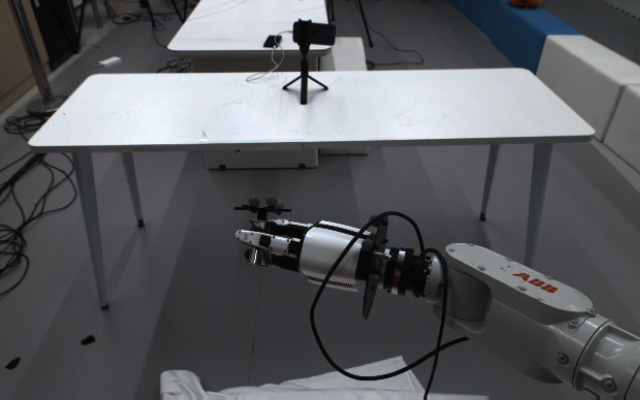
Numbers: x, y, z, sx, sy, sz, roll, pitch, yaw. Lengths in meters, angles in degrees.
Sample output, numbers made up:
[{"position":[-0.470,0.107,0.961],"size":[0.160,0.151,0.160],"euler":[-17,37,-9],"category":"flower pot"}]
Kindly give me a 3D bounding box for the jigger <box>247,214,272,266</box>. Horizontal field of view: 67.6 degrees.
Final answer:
[{"position":[-0.091,0.065,0.746],"size":[0.043,0.071,0.043],"euler":[2,-6,0],"category":"jigger"}]
